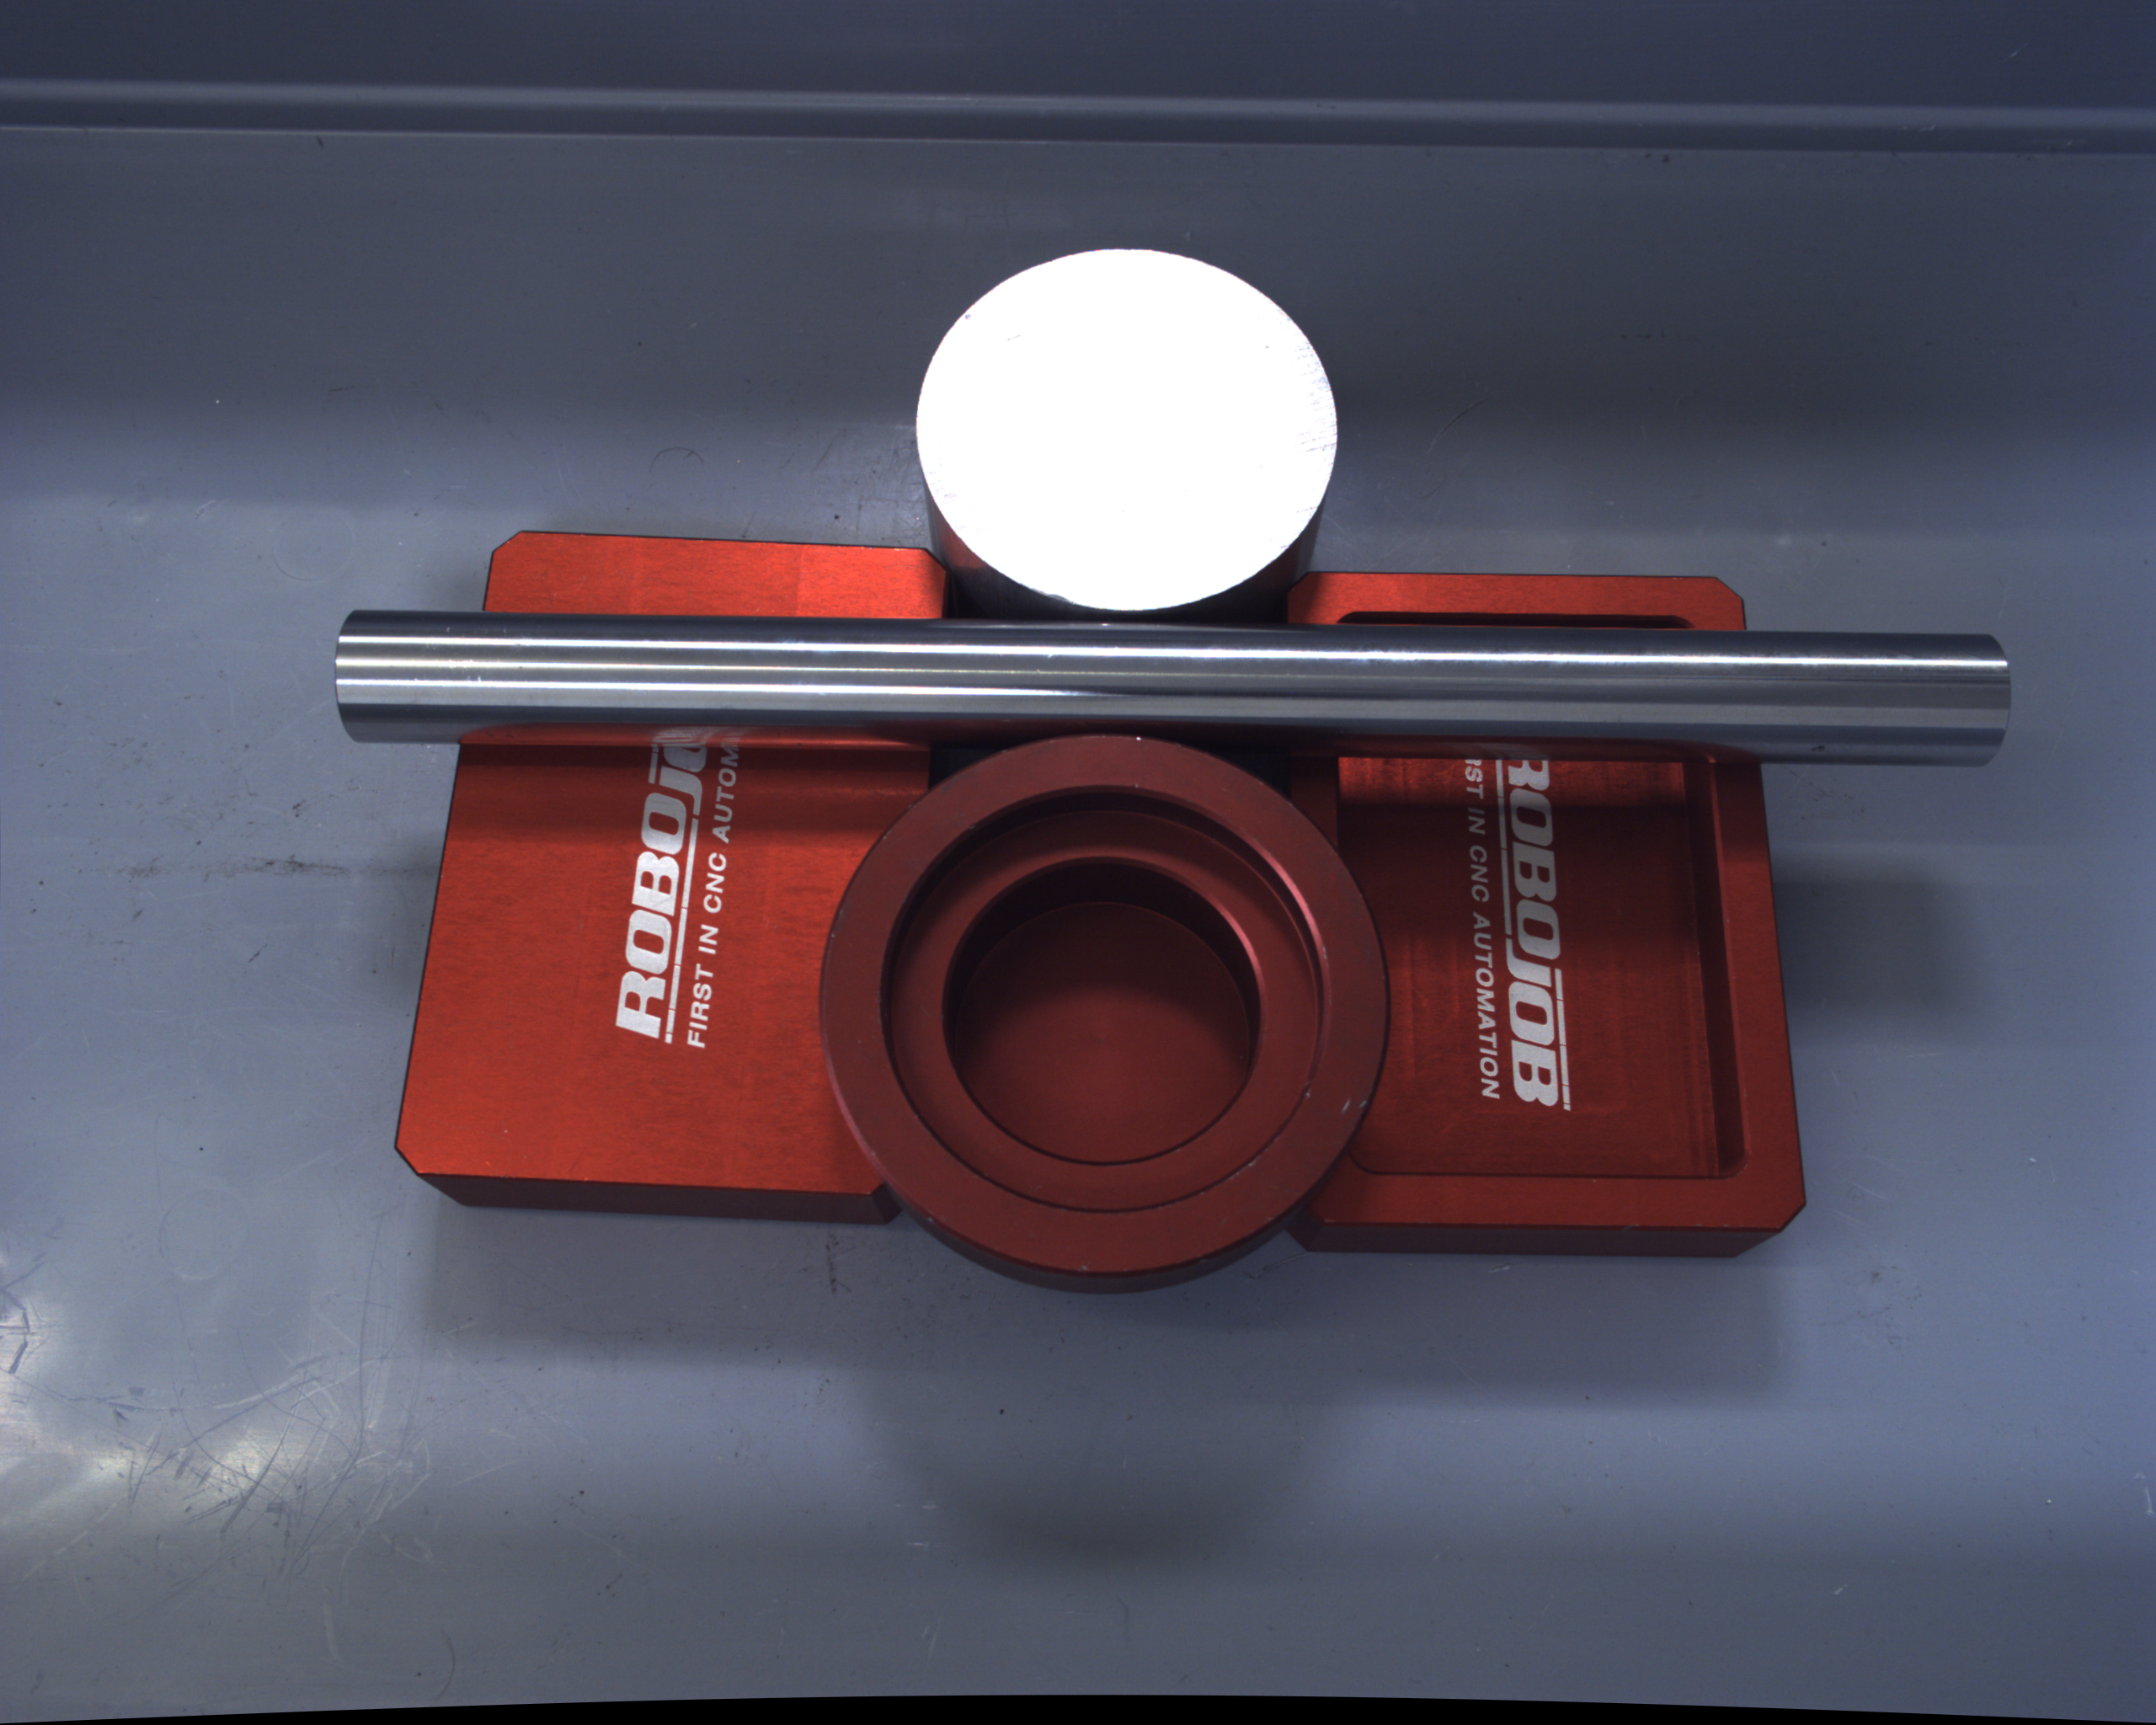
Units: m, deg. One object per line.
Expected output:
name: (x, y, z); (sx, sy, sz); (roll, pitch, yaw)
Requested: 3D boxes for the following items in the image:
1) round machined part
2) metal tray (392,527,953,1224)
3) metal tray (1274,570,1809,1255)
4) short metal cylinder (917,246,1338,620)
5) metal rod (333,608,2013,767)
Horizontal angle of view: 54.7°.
round machined part: (0.005, 0.029, 0.378); (0.099, 0.042, 0.098); (0, 70, 0)
metal tray: (-0.073, 0.001, 0.403); (0.091, 0.030, 0.130); (3, 70, 1)
metal tray: (0.085, 0.008, 0.402); (0.091, 0.030, 0.130); (1, 70, 0)
short metal cylinder: (0.009, -0.076, 0.422); (0.081, 0.050, 0.080); (0, 70, 0)
metal rod: (0.017, -0.032, 0.387); (0.302, 0.025, 0.025); (1, 70, 0)
